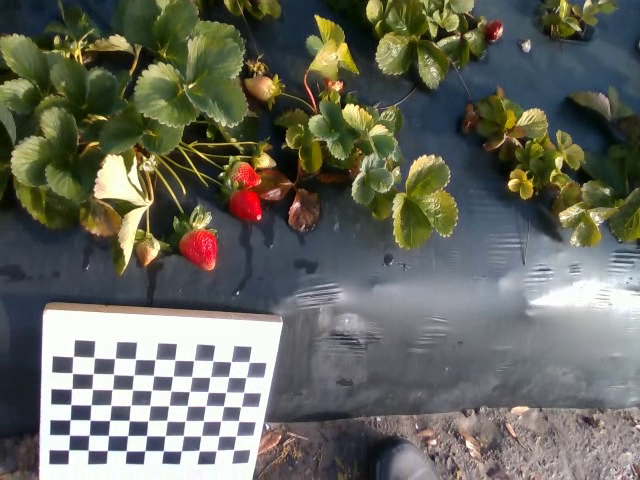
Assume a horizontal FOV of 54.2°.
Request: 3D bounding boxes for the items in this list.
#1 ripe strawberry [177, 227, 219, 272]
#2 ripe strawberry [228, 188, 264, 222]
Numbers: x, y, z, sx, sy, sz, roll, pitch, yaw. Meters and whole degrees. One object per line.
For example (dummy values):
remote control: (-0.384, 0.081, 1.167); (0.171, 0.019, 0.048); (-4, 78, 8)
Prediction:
ripe strawberry: (-0.152, 0.014, 0.780); (0.050, 0.065, 0.050); (-31, -30, 2)
ripe strawberry: (-0.096, -0.042, 0.814); (0.055, 0.045, 0.041); (43, 13, 27)
